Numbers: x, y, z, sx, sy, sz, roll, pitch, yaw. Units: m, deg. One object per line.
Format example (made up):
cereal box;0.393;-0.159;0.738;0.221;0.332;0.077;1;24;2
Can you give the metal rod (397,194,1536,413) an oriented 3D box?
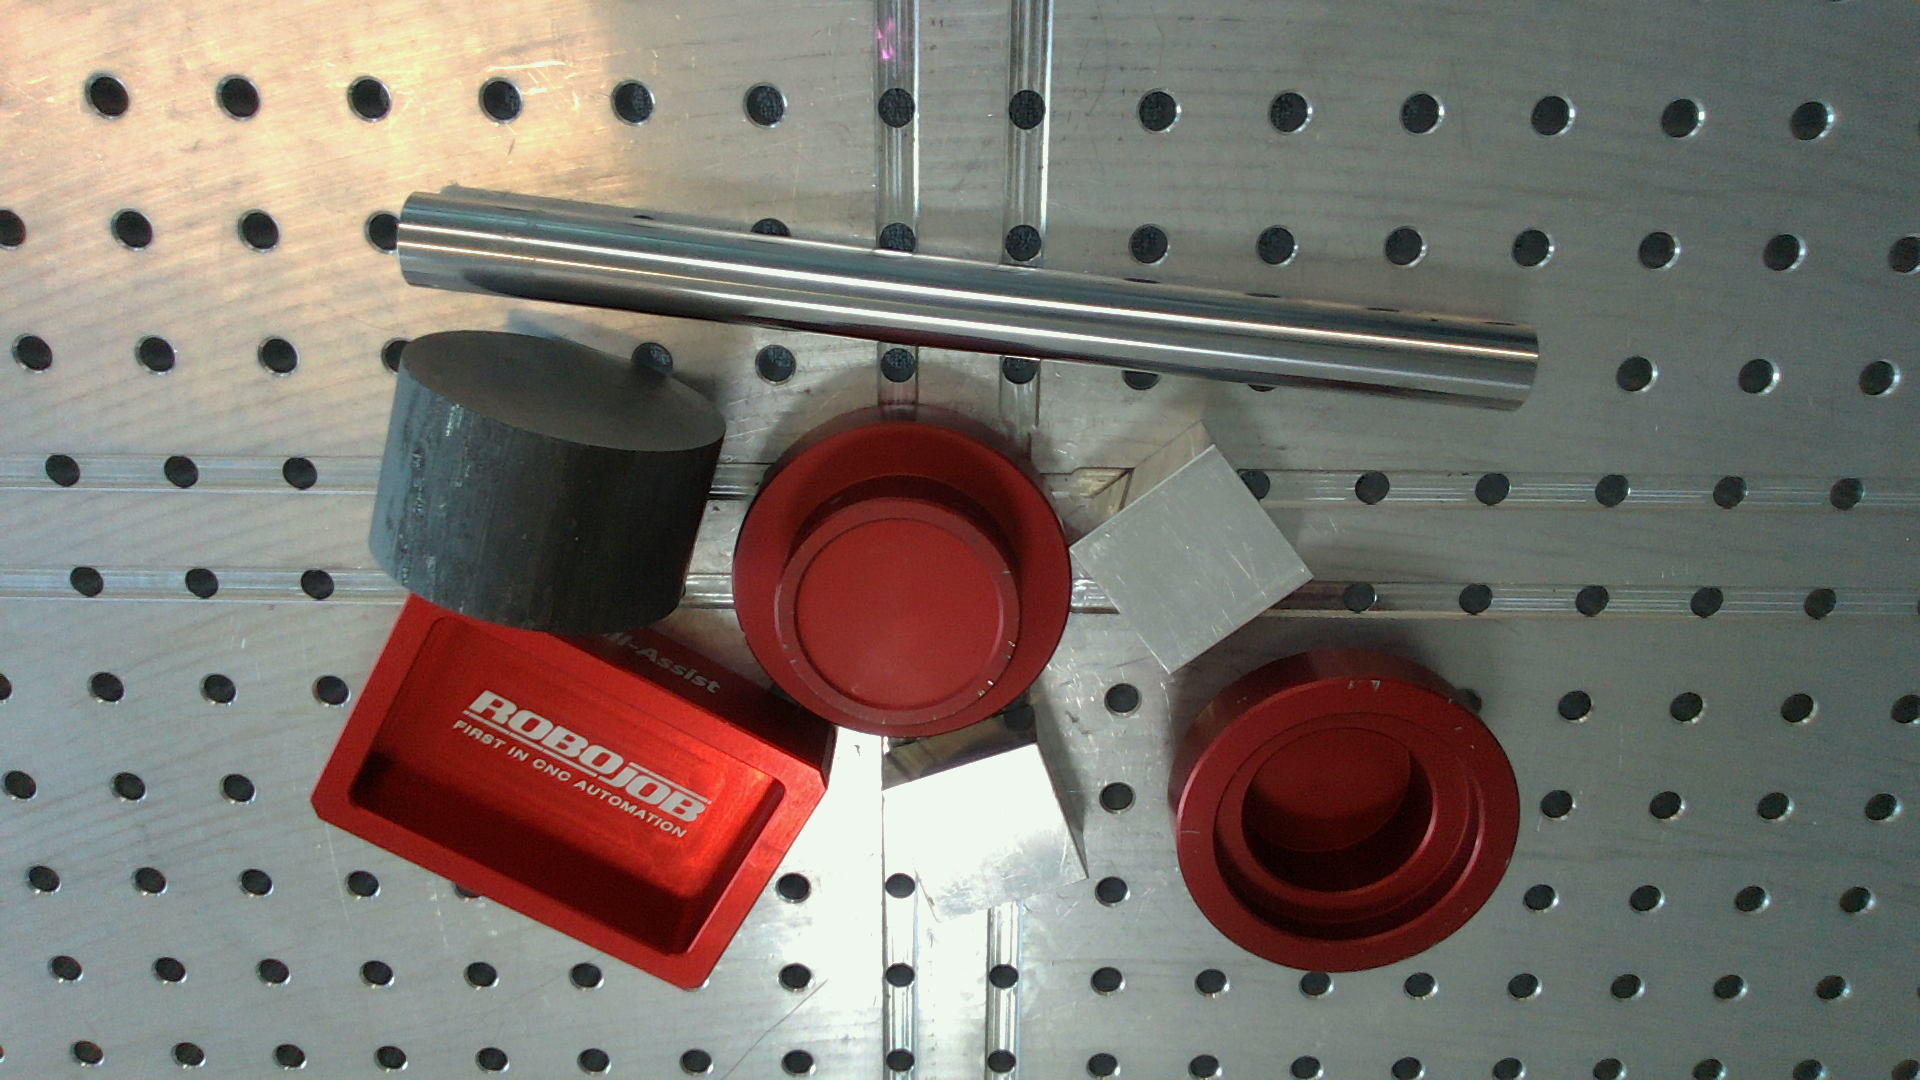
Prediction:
metal rod;0.004;-0.063;0.372;0.300;0.025;0.025;6;110;-3

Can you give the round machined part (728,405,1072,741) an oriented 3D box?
round machined part;-0.017;0.013;0.392;0.098;0.042;0.098;0;107;0

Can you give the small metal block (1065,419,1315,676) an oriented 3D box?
small metal block;0.065;0.002;0.398;0.050;0.025;0.050;-37;106;12

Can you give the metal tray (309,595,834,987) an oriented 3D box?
metal tray;-0.116;0.070;0.418;0.130;0.030;0.090;29;108;-10

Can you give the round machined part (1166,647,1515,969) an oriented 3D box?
round machined part;0.111;0.077;0.416;0.098;0.042;0.098;0;110;0

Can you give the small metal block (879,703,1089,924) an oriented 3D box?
small metal block;0.008;0.085;0.428;0.050;0.025;0.050;-18;109;6

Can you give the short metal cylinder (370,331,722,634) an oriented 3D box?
short metal cylinder;-0.108;-0.017;0.360;0.080;0.080;0.050;17;109;-6
